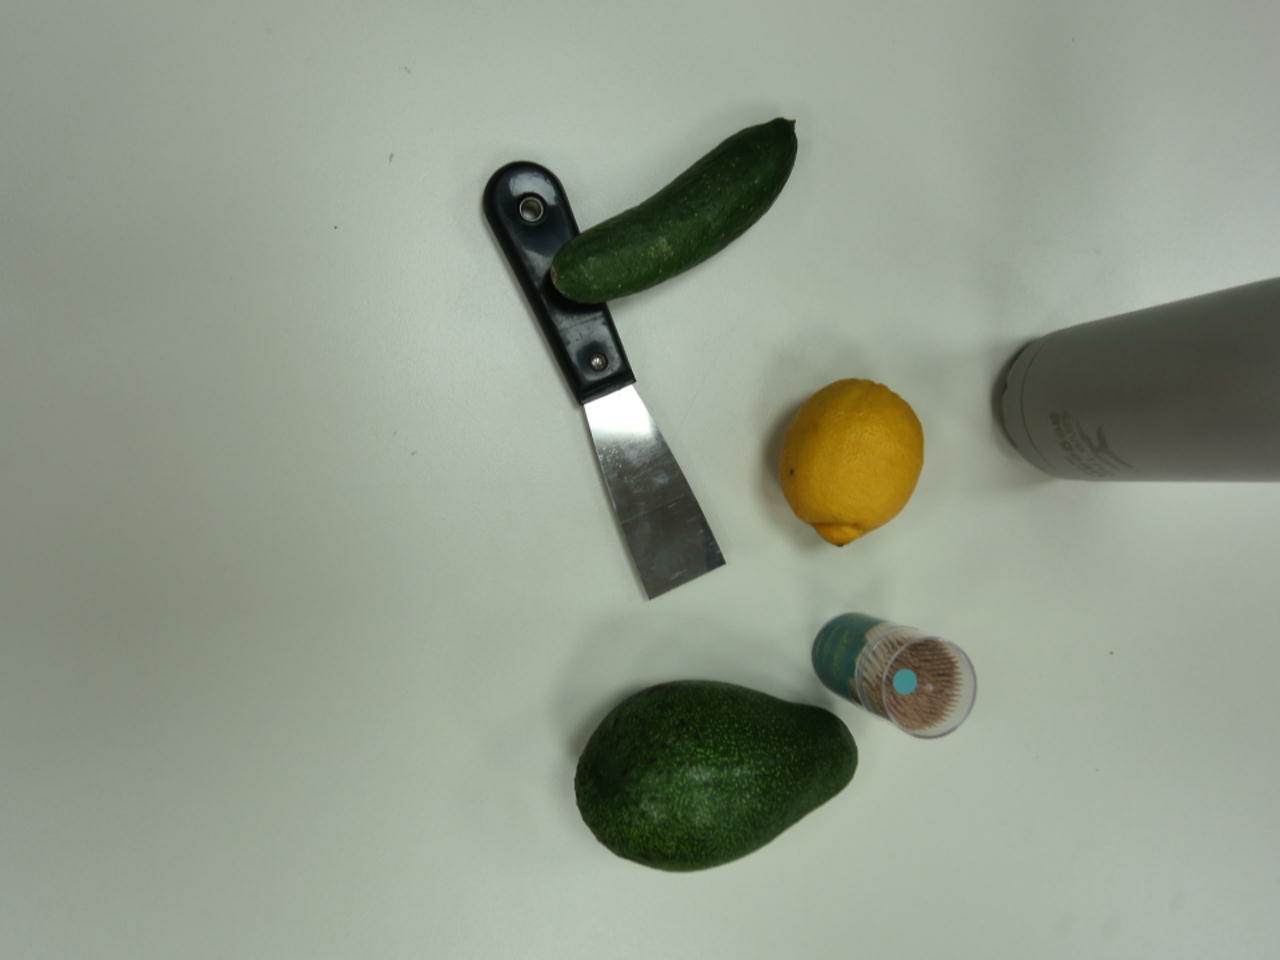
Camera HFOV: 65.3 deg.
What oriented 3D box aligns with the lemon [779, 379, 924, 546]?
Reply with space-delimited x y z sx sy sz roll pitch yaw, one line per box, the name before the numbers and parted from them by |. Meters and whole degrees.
lemon | 0.090 -0.009 0.429 0.061 0.059 0.067 43 82 -9
